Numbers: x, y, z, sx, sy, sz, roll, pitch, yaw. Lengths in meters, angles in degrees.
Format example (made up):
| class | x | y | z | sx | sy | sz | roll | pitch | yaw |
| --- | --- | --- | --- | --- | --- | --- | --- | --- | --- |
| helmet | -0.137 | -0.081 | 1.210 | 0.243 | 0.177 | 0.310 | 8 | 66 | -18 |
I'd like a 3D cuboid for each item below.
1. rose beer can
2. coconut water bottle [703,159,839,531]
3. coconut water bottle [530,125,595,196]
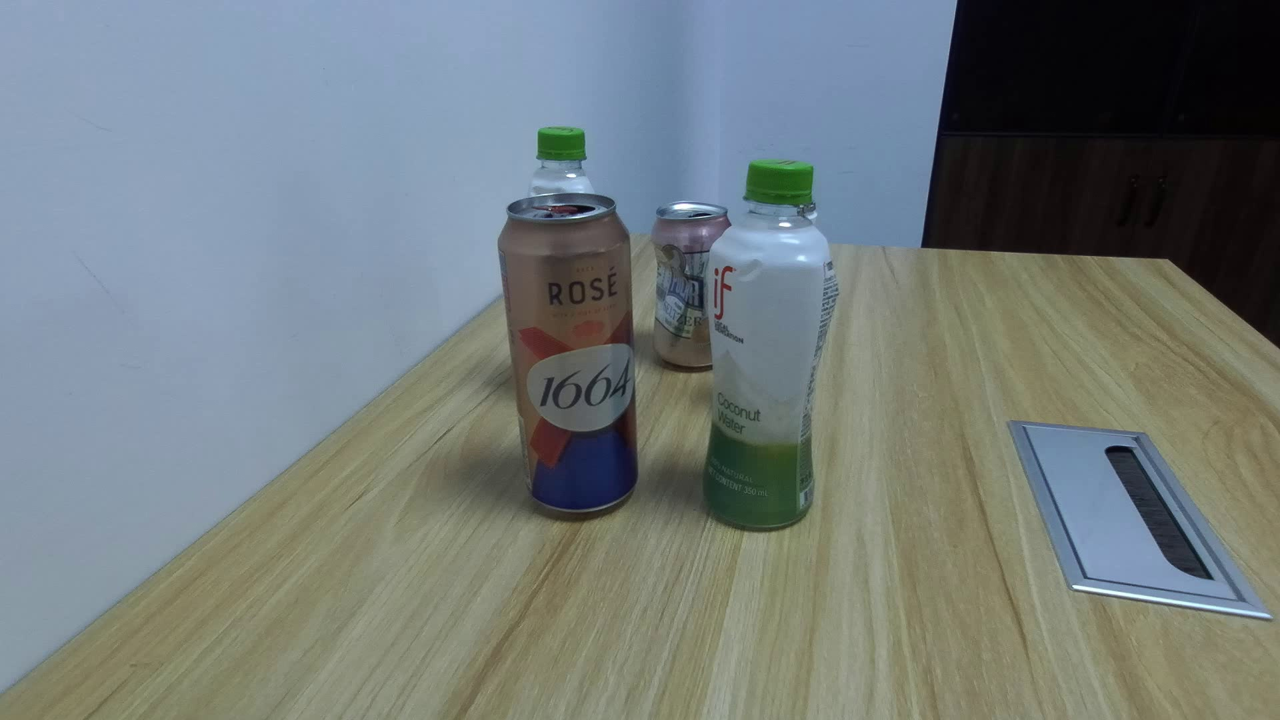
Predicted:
| class | x | y | z | sx | sy | sz | roll | pitch | yaw |
| --- | --- | --- | --- | --- | --- | --- | --- | --- | --- |
| rose beer can | -0.036 | 0.001 | 0.386 | 0.068 | 0.169 | 0.068 | -1 | 24 | 1 |
| coconut water bottle | 0.065 | -0.006 | 0.364 | 0.069 | 0.187 | 0.069 | -2 | 23 | 1 |
| coconut water bottle | -0.058 | -0.067 | 0.496 | 0.067 | 0.187 | 0.067 | 3 | 29 | -1 |
